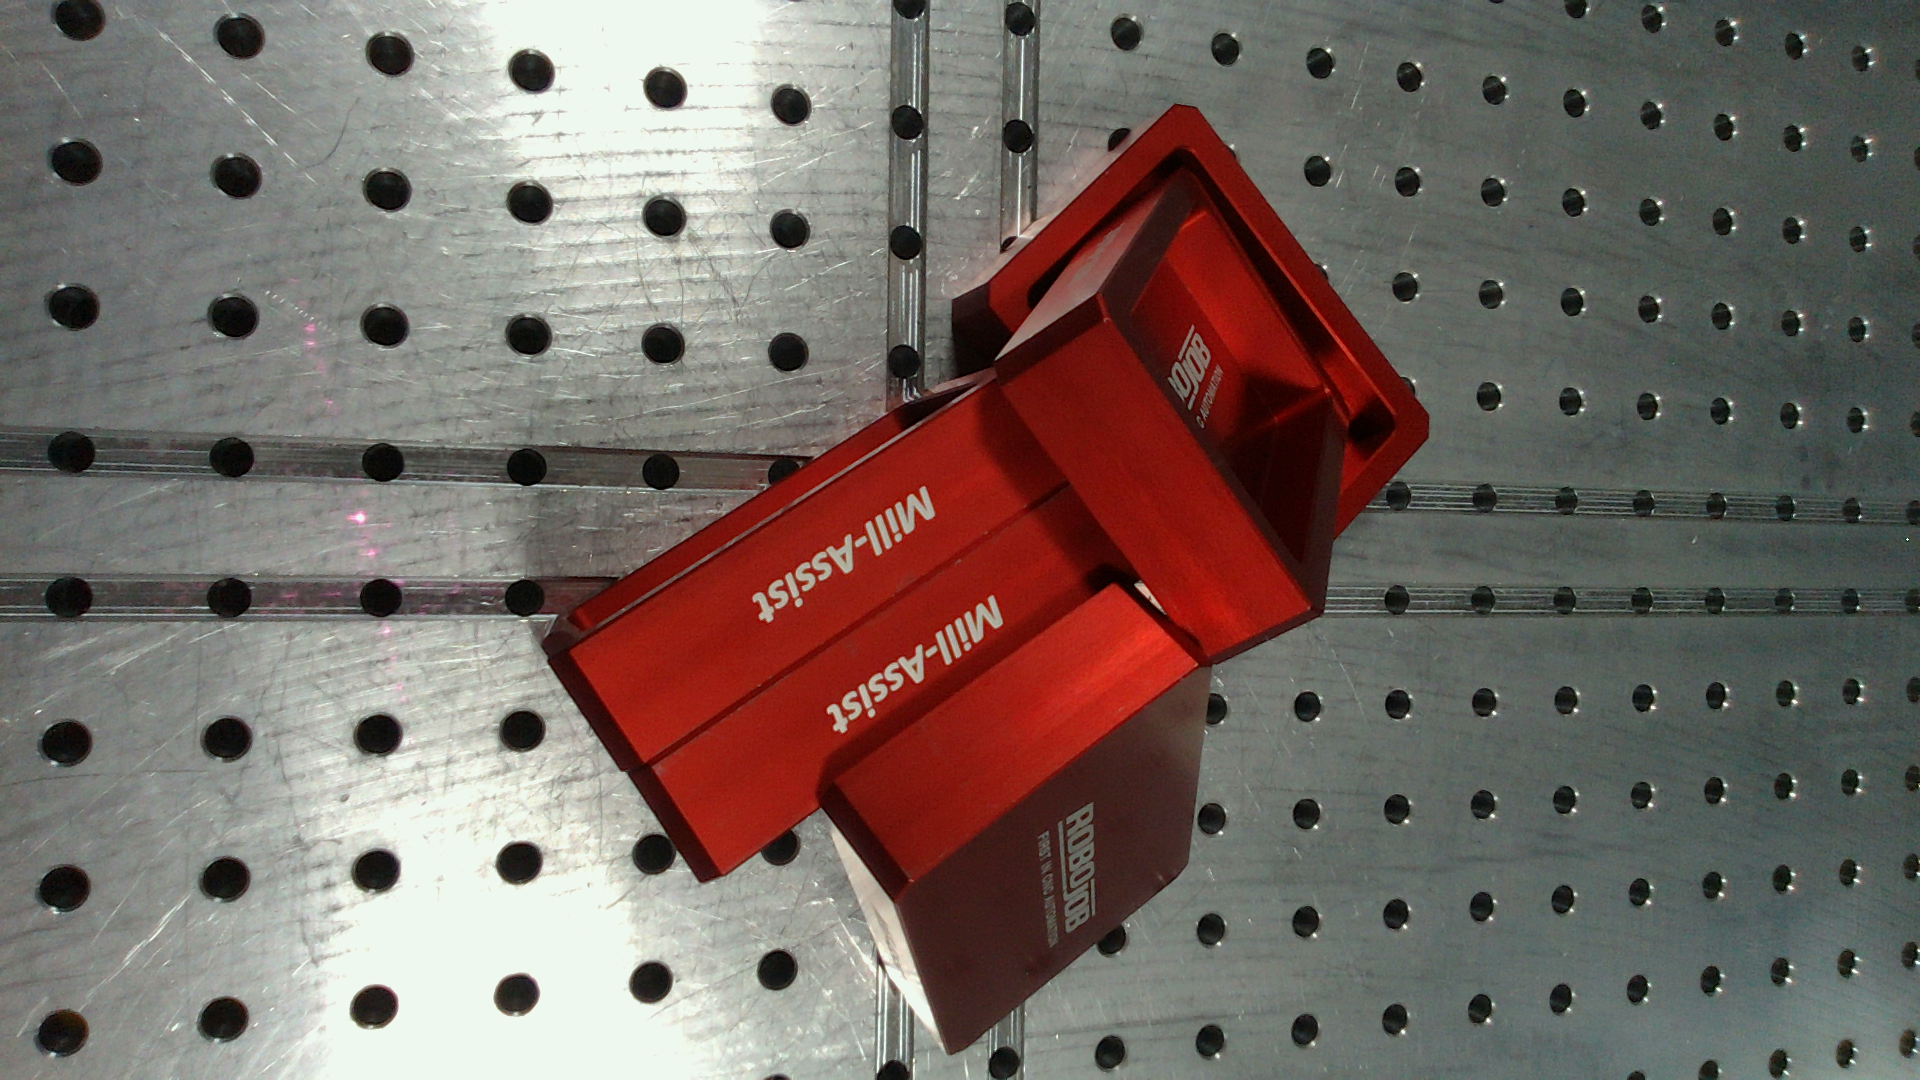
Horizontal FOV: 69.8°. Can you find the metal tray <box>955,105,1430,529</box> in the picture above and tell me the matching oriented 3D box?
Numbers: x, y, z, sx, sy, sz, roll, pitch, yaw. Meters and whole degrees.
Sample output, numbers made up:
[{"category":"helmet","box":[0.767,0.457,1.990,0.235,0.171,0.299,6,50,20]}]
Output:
[{"category":"metal tray","box":[0.073,-0.052,0.418,0.090,0.030,0.130,-45,104,-14]}]

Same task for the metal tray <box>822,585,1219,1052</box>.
[{"category":"metal tray","box":[0.019,0.077,0.354,0.090,0.130,0.030,-34,59,-16]}]

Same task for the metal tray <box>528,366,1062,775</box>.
[{"category":"metal tray","box":[-0.042,0.003,0.346,0.130,0.090,0.030,-34,101,-17]}]

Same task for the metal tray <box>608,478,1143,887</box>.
[{"category":"metal tray","box":[-0.025,0.028,0.351,0.130,0.090,0.030,-34,101,-17]}]

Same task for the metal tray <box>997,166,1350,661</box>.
[{"category":"metal tray","box":[0.063,-0.039,0.358,0.090,0.030,0.130,52,30,-12]}]
